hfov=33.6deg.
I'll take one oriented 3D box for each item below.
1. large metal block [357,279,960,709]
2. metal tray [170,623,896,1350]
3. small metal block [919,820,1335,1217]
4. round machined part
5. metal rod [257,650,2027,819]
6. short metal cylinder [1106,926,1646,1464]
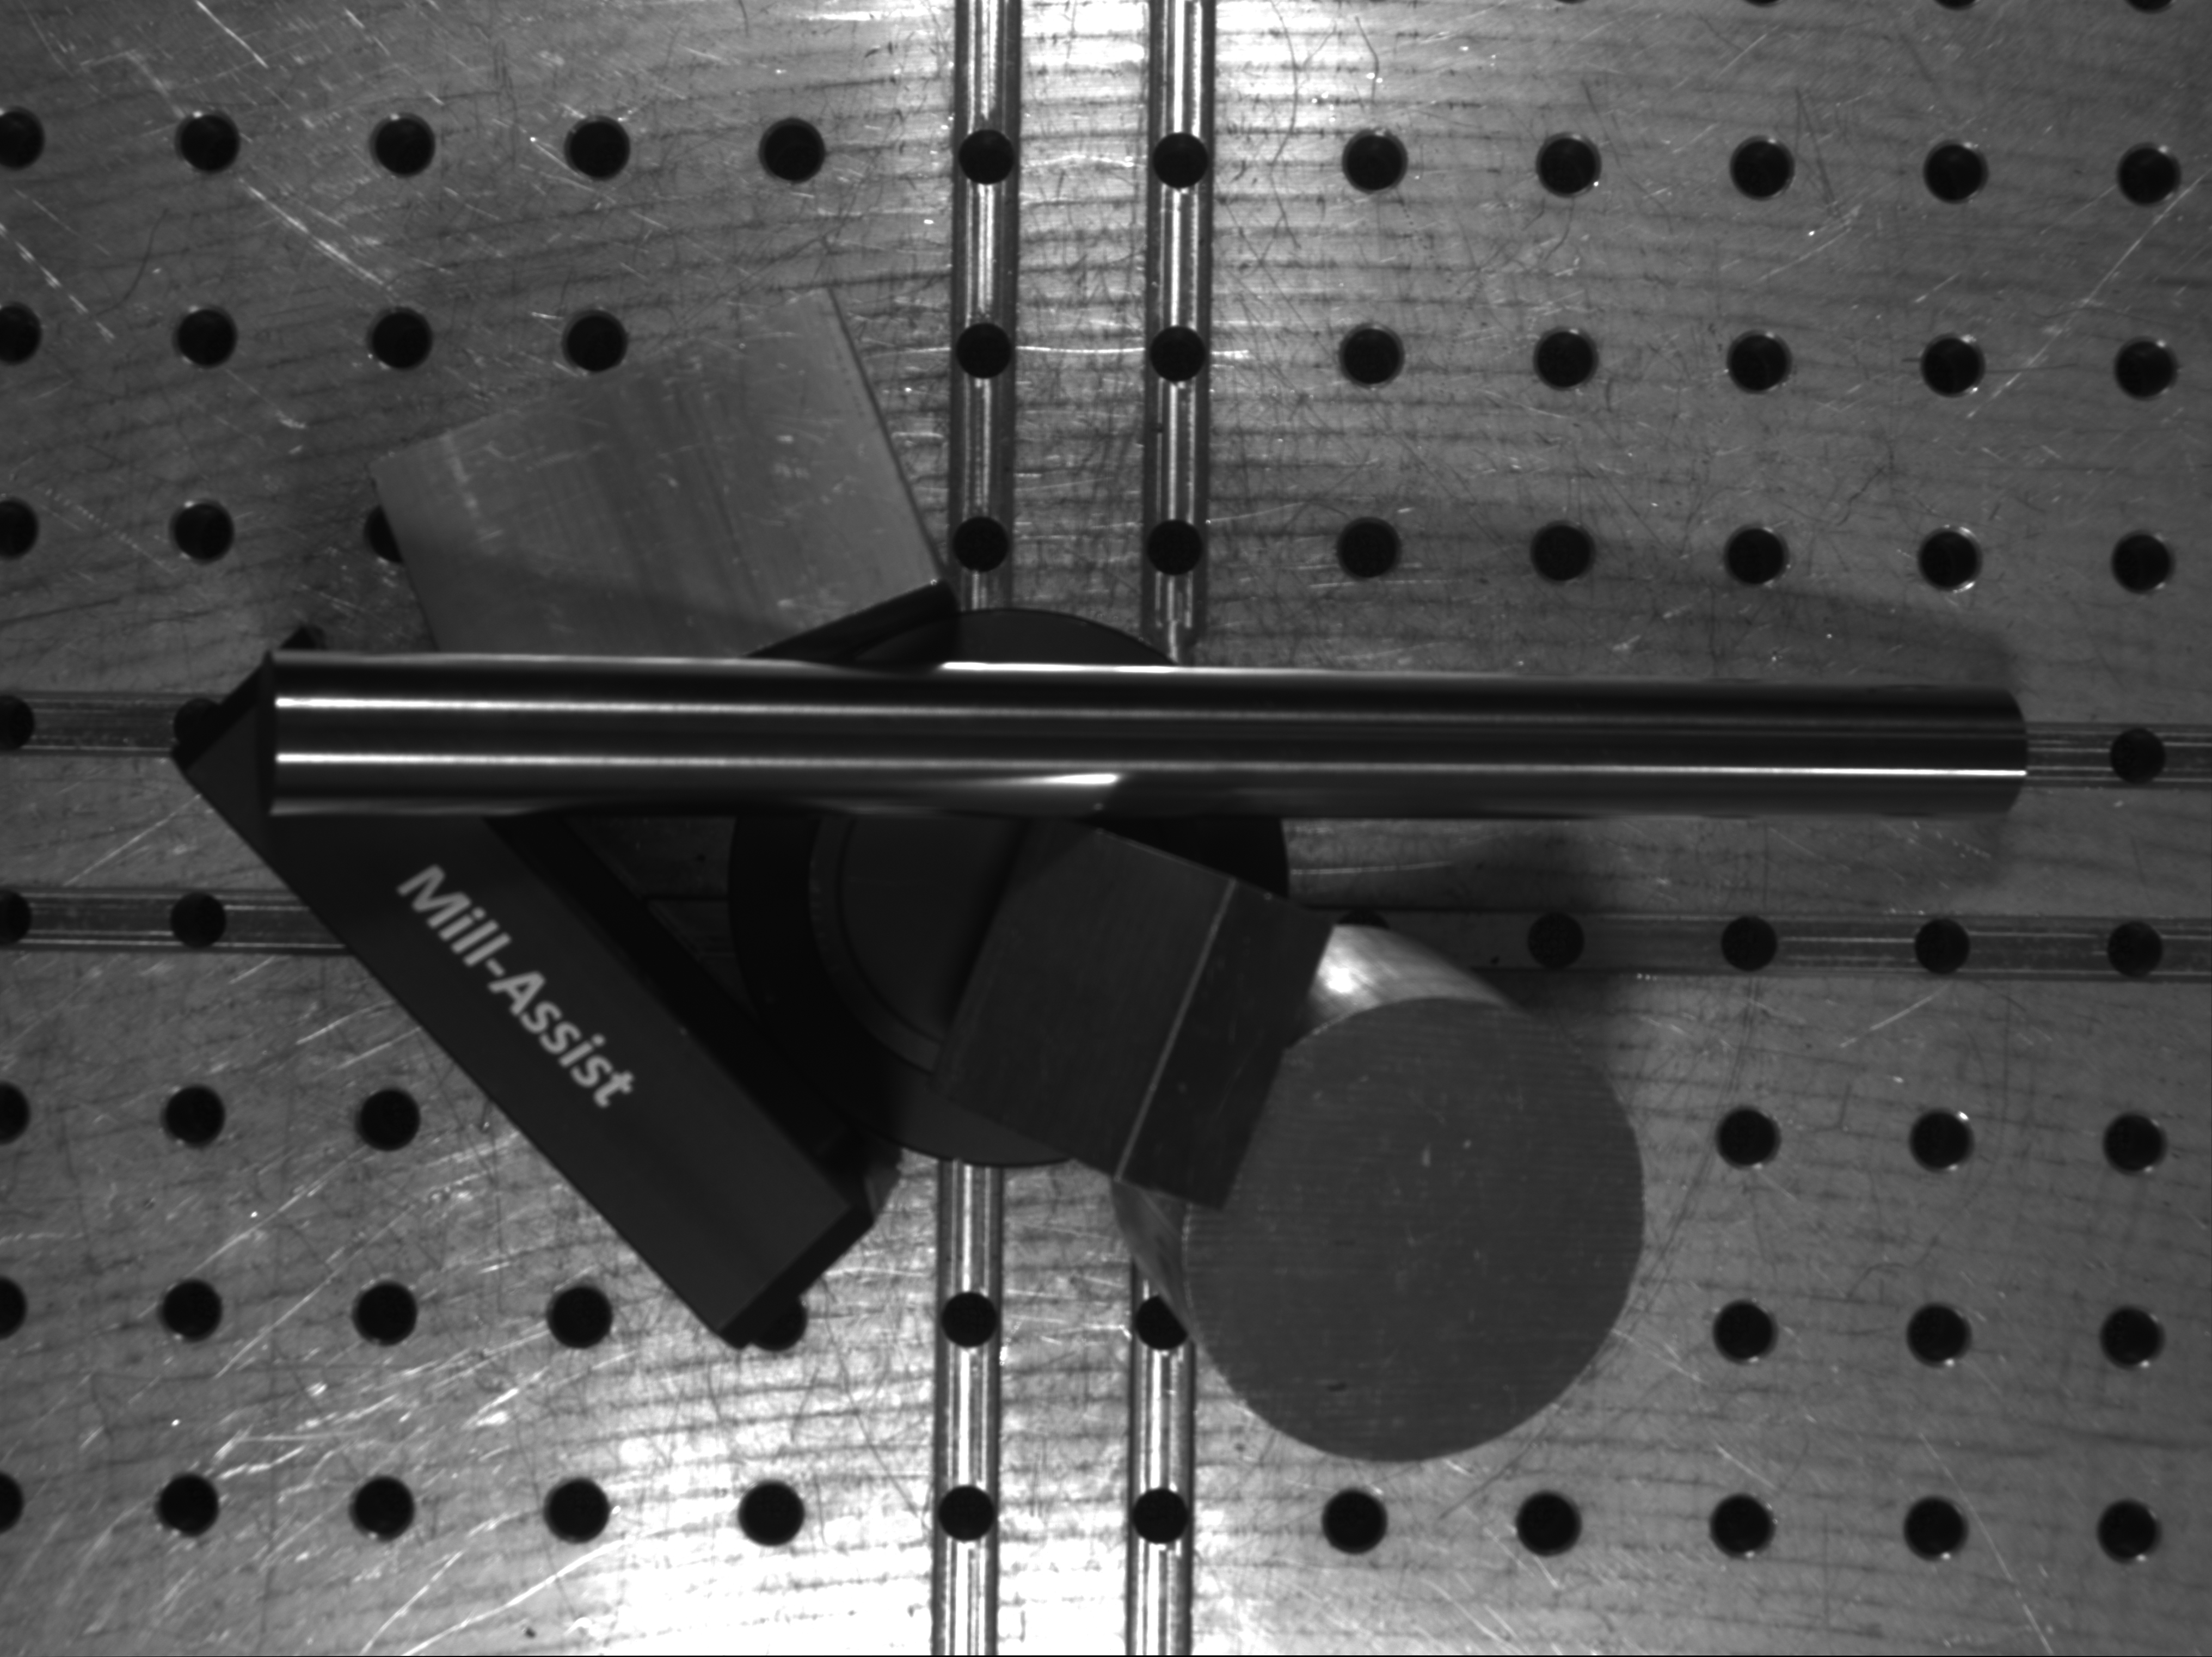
[{"bbox_3d":[-0.072,-0.049,0.618,0.080,0.080,0.050,-21,90,0],"label":"large metal block"},{"bbox_3d":[-0.092,0.025,0.613,0.030,0.090,0.130,-43,90,0],"label":"metal tray"},{"bbox_3d":[0.003,0.029,0.591,0.025,0.050,0.050,23,87,-42],"label":"small metal block"},{"bbox_3d":[-0.017,0.010,0.641,0.098,0.042,0.098,0,90,0],"label":"round machined part"},{"bbox_3d":[0.015,-0.014,0.600,0.301,0.025,0.025,0,90,-20],"label":"metal rod"},{"bbox_3d":[0.045,0.061,0.623,0.080,0.050,0.080,-3,103,-15],"label":"short metal cylinder"}]
